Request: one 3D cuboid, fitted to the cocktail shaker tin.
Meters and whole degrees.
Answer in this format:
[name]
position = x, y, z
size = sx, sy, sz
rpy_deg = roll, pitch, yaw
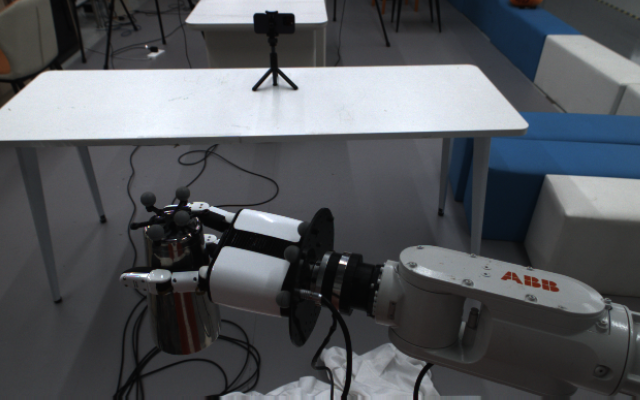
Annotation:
[cocktail shaker tin]
position = -0.173, 0.098, 0.606
size = 0.093, 0.170, 0.093
rpy_deg = 3, 33, -2
